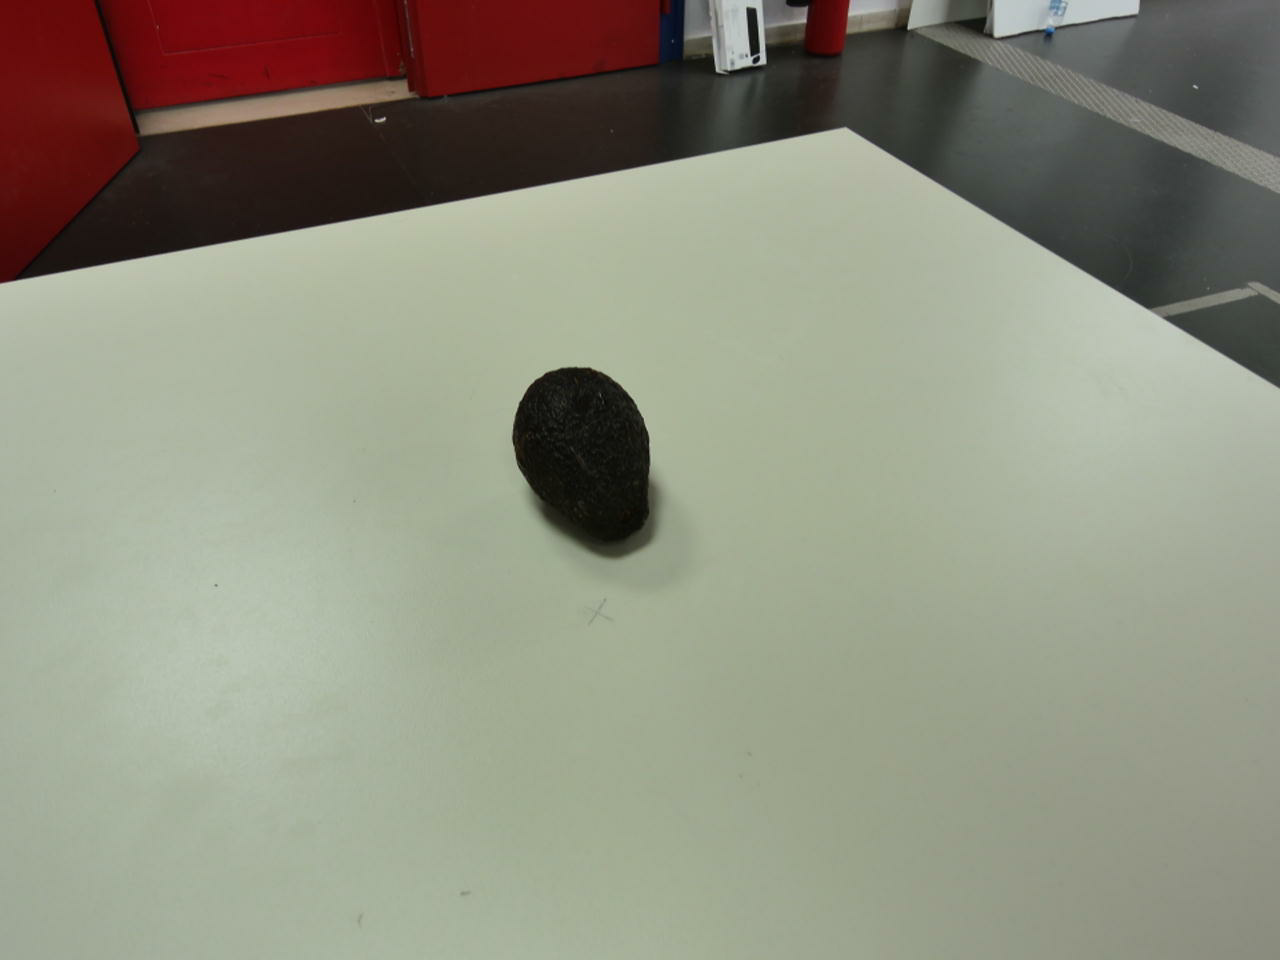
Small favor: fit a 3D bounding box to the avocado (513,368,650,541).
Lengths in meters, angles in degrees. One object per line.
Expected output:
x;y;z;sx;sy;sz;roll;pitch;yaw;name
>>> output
-0.030;-0.017;0.508;0.070;0.069;0.090;0;38;-1;avocado
